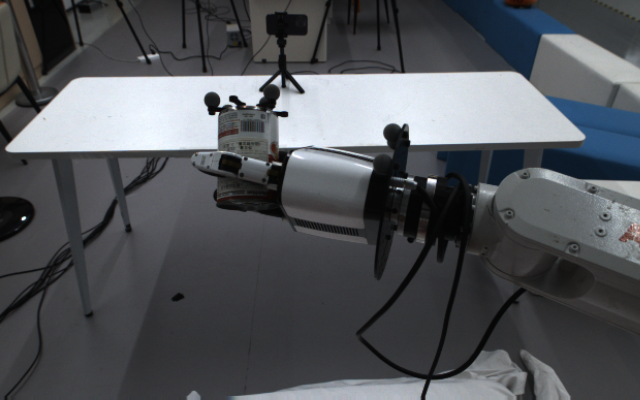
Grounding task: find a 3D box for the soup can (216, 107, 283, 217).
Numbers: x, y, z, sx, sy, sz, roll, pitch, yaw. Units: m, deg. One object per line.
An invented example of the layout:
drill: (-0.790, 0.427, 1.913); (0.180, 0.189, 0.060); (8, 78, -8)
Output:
soup can: (-0.076, -0.042, 0.523); (0.067, 0.101, 0.067); (-1, -9, 0)
